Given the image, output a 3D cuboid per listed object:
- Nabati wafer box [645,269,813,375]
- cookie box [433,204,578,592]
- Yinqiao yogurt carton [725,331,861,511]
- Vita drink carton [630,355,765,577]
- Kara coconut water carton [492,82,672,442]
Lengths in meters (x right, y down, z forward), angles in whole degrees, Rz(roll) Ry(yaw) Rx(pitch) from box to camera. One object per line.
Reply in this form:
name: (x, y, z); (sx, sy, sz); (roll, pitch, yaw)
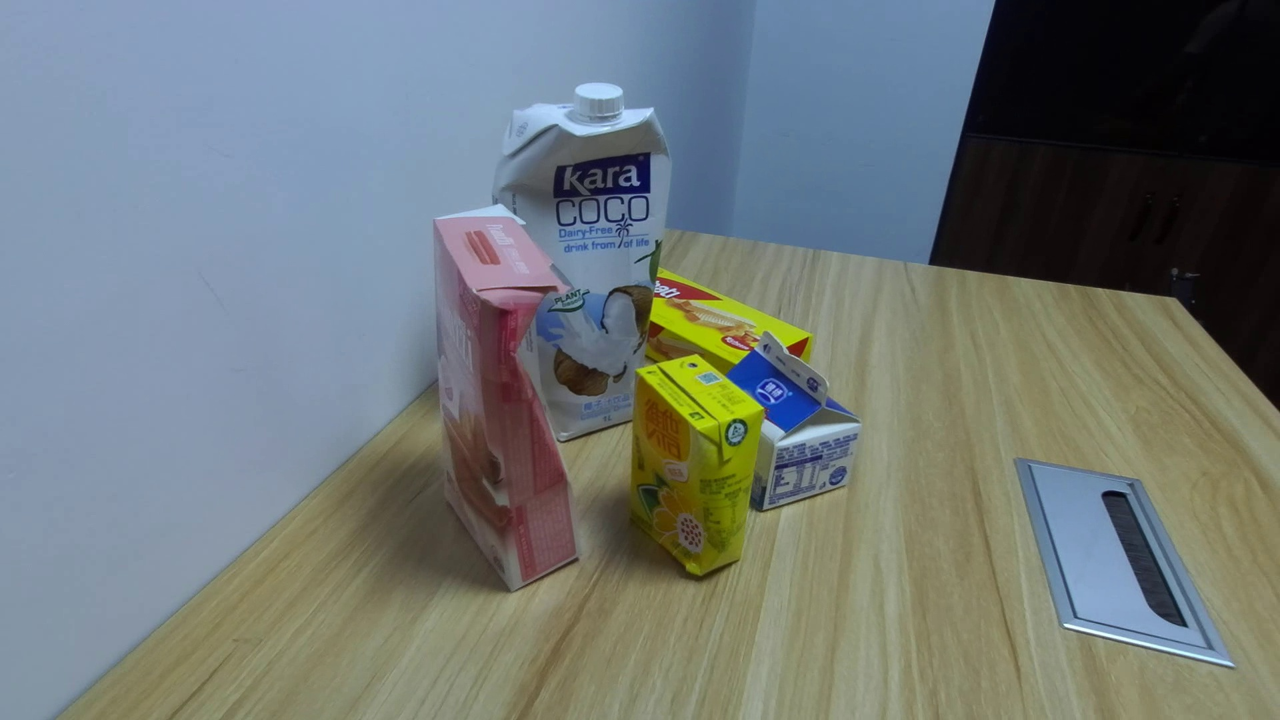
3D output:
Nabati wafer box: (0.046, -0.030, 0.634); (0.093, 0.042, 0.202); (-22, 38, -37)
cookie box: (-0.072, 0.025, 0.385); (0.056, 0.184, 0.118); (-13, 32, -25)
Yinqiao yogurt carton: (0.096, 0.035, 0.467); (0.074, 0.092, 0.075); (-11, 33, -24)
Vita drink carton: (0.031, 0.062, 0.398); (0.043, 0.109, 0.076); (-13, 33, -26)
Kara coconut water carton: (-0.038, -0.062, 0.483); (0.115, 0.238, 0.069); (-14, 34, -28)
